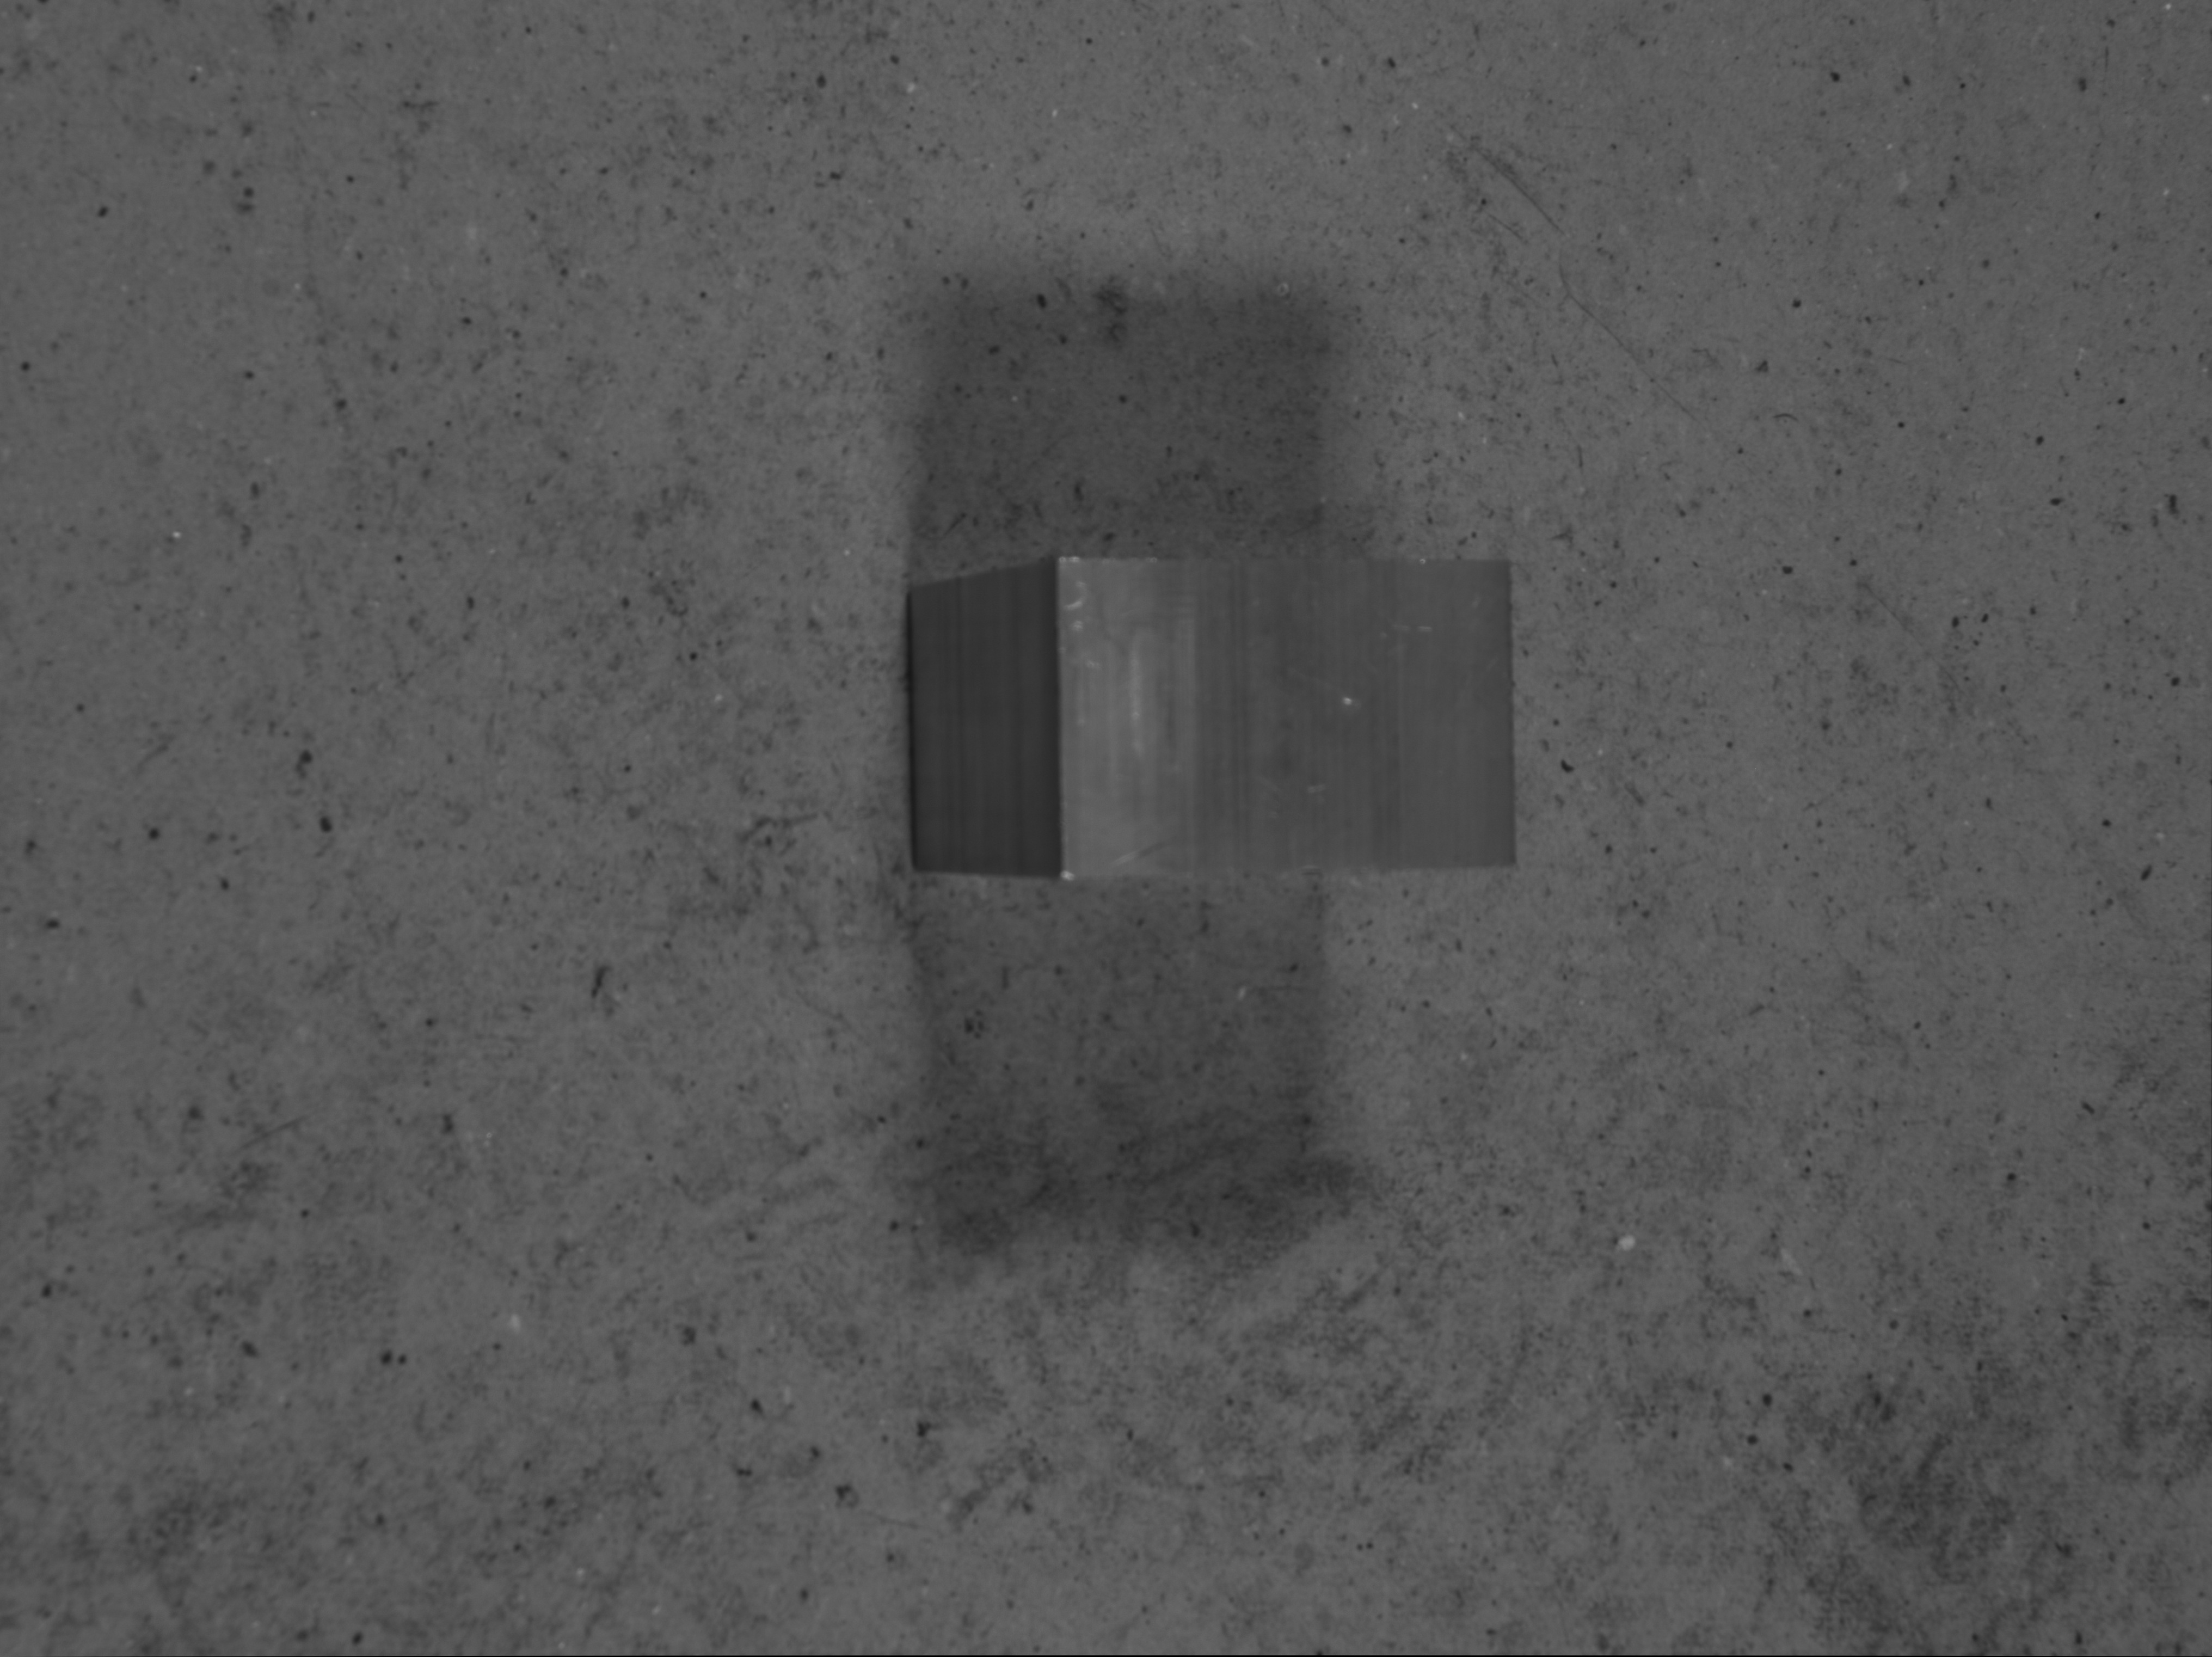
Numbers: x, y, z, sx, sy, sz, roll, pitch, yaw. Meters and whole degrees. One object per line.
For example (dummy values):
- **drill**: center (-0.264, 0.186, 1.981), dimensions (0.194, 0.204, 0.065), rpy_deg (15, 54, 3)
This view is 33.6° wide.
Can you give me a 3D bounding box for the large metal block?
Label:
- **large metal block**: center (0.018, -0.018, 0.621), dimensions (0.080, 0.080, 0.050), rpy_deg (-1, 90, -20)
